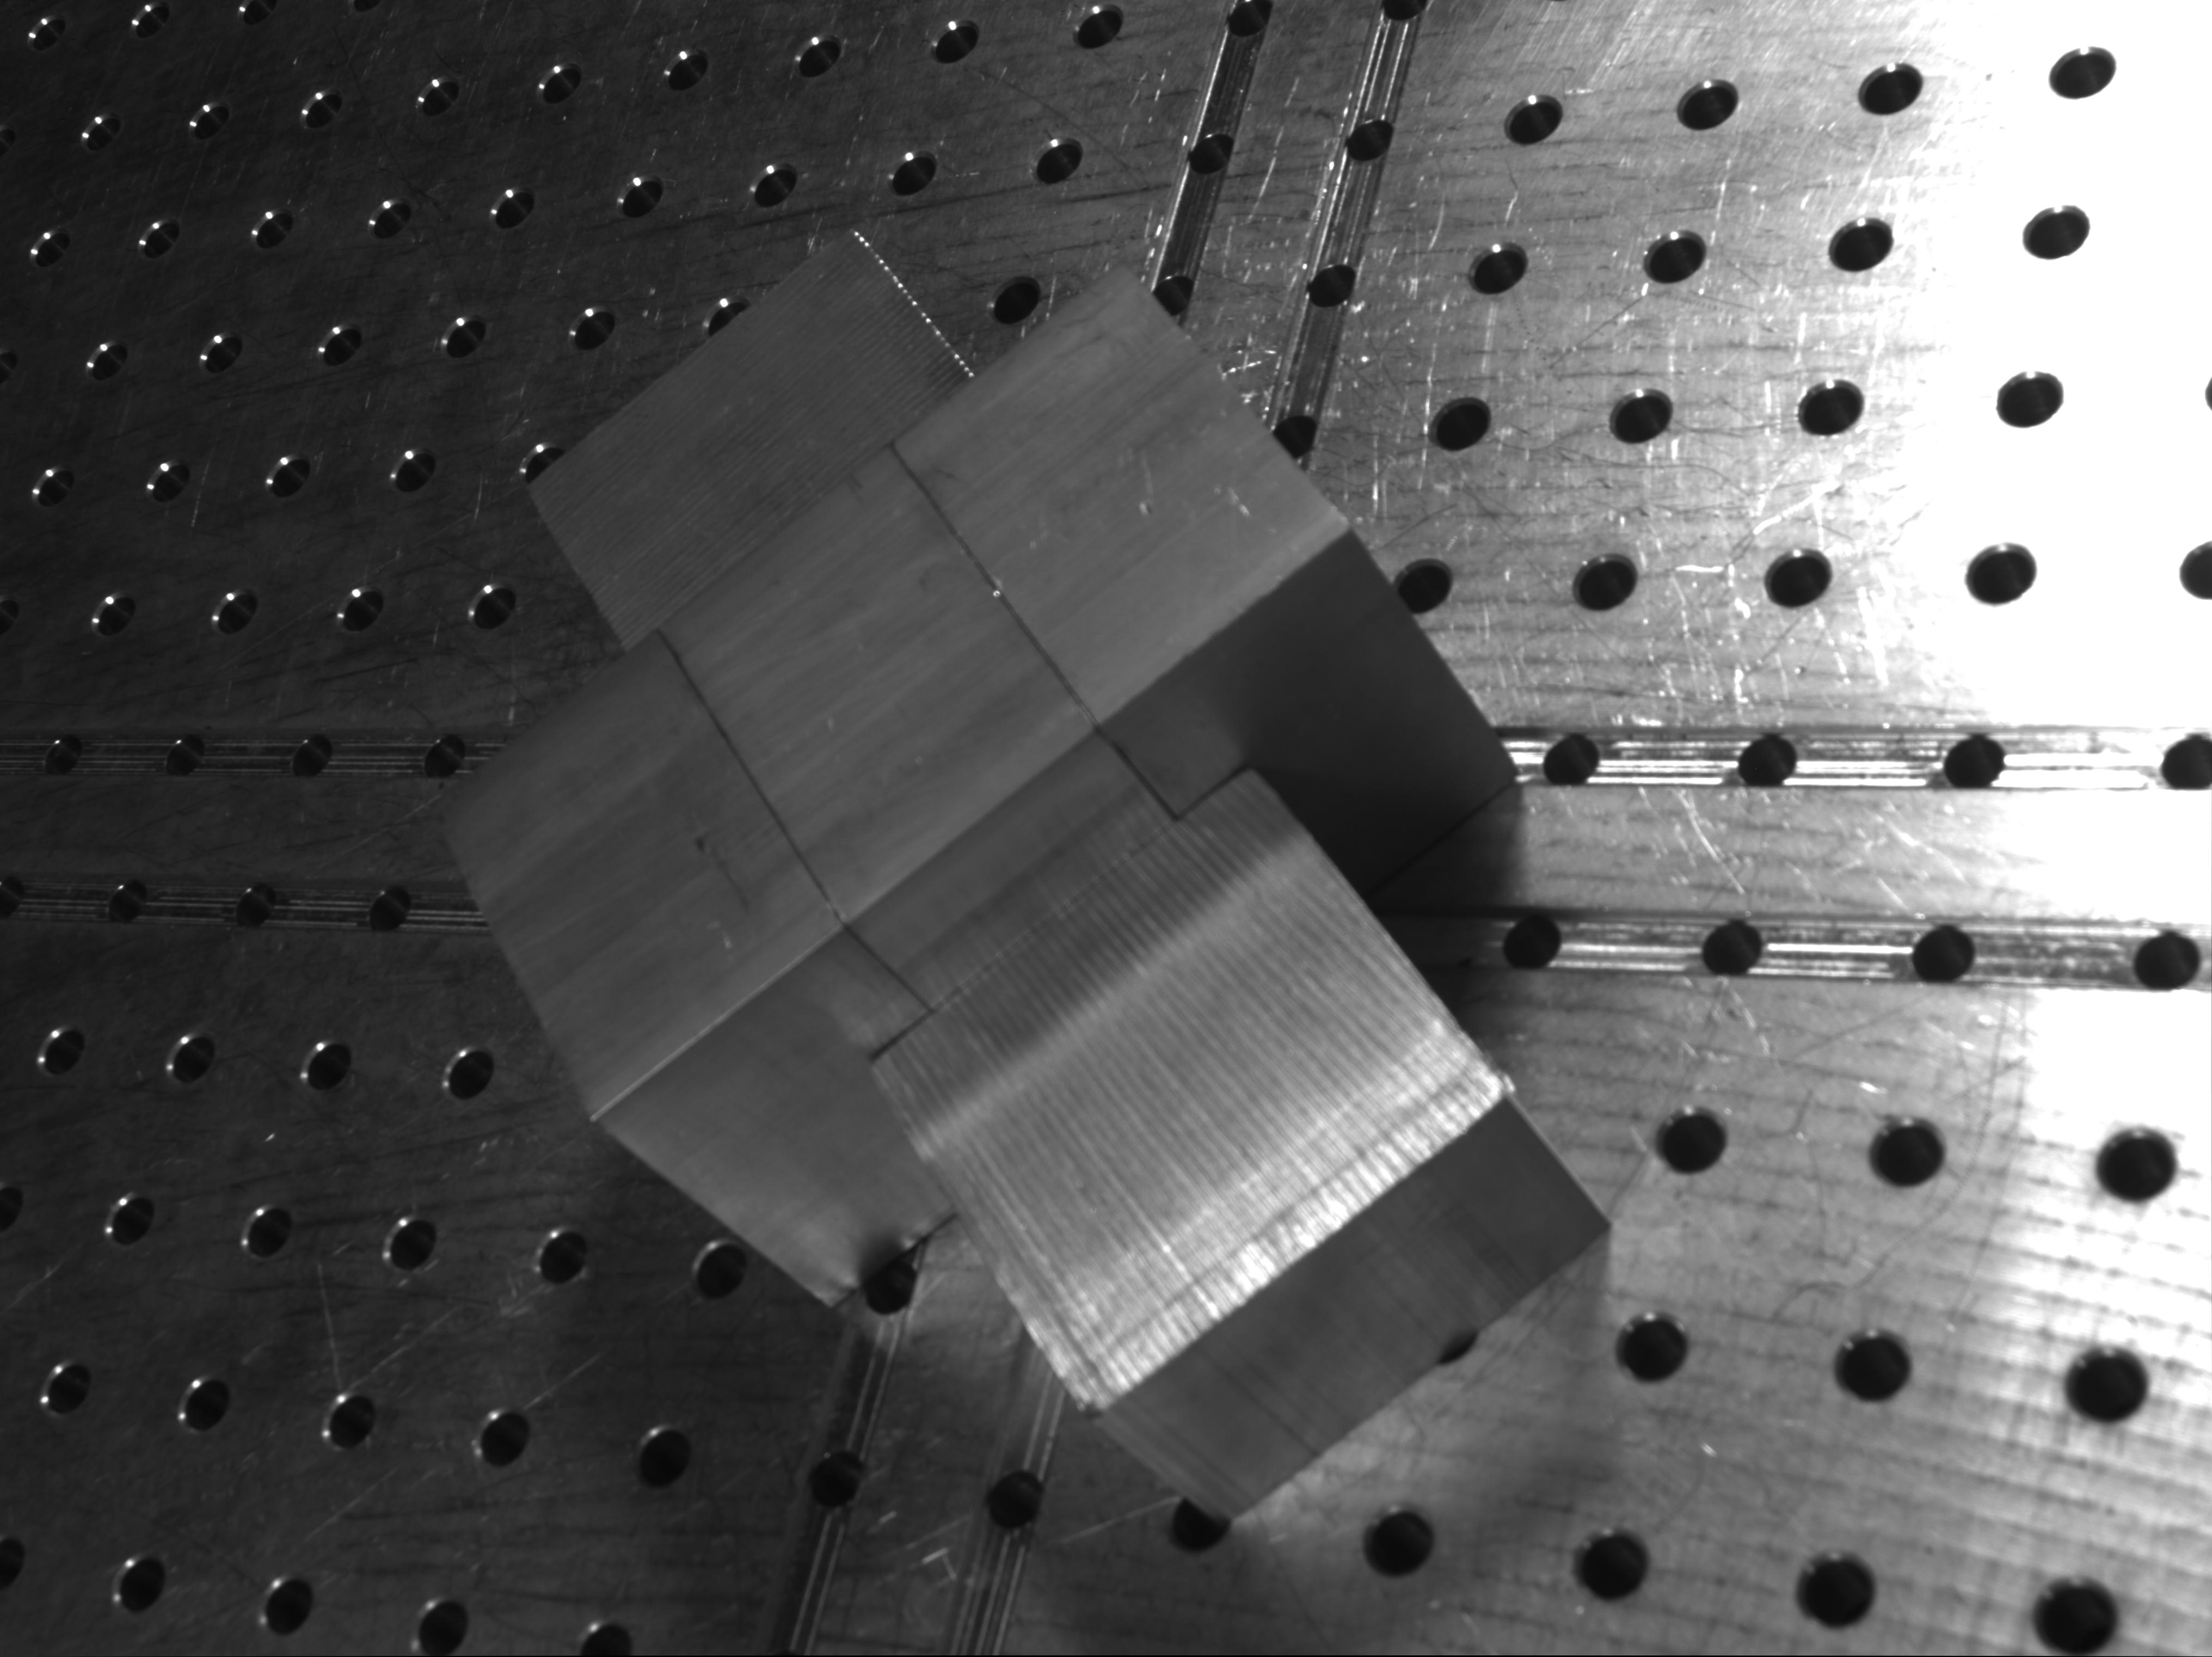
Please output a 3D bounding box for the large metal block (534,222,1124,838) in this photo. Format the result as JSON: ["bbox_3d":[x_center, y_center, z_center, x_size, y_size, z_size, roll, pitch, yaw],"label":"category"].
[{"bbox_3d":[-0.048,-0.053,0.686,0.080,0.050,0.080,-39,51,3],"label":"large metal block"}]

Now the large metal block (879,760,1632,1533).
[{"bbox_3d":[0.023,0.051,0.587,0.080,0.050,0.080,-38,51,4],"label":"large metal block"}]

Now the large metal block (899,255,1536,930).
[{"bbox_3d":[0.019,-0.037,0.625,0.050,0.080,0.080,-38,51,3],"label":"large metal block"}]

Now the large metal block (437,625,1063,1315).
[{"bbox_3d":[-0.060,0.025,0.629,0.050,0.080,0.080,-38,51,3],"label":"large metal block"}]

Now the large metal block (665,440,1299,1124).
[{"bbox_3d":[-0.020,-0.006,0.627,0.050,0.080,0.080,-38,51,3],"label":"large metal block"}]
